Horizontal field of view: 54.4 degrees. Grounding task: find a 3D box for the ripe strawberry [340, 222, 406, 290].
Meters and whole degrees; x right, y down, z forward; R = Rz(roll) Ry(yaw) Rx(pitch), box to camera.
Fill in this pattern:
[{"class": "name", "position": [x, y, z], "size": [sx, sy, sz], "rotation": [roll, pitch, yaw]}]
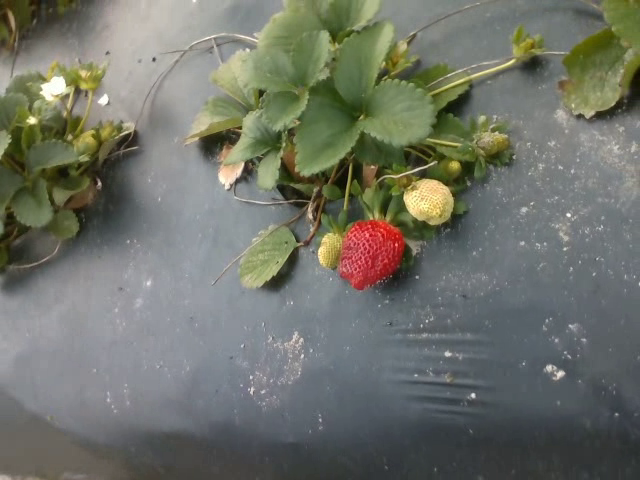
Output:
[{"class": "ripe strawberry", "position": [0.033, 0.014, 0.401], "size": [0.046, 0.045, 0.059], "rotation": [-5, 39, 34]}]
